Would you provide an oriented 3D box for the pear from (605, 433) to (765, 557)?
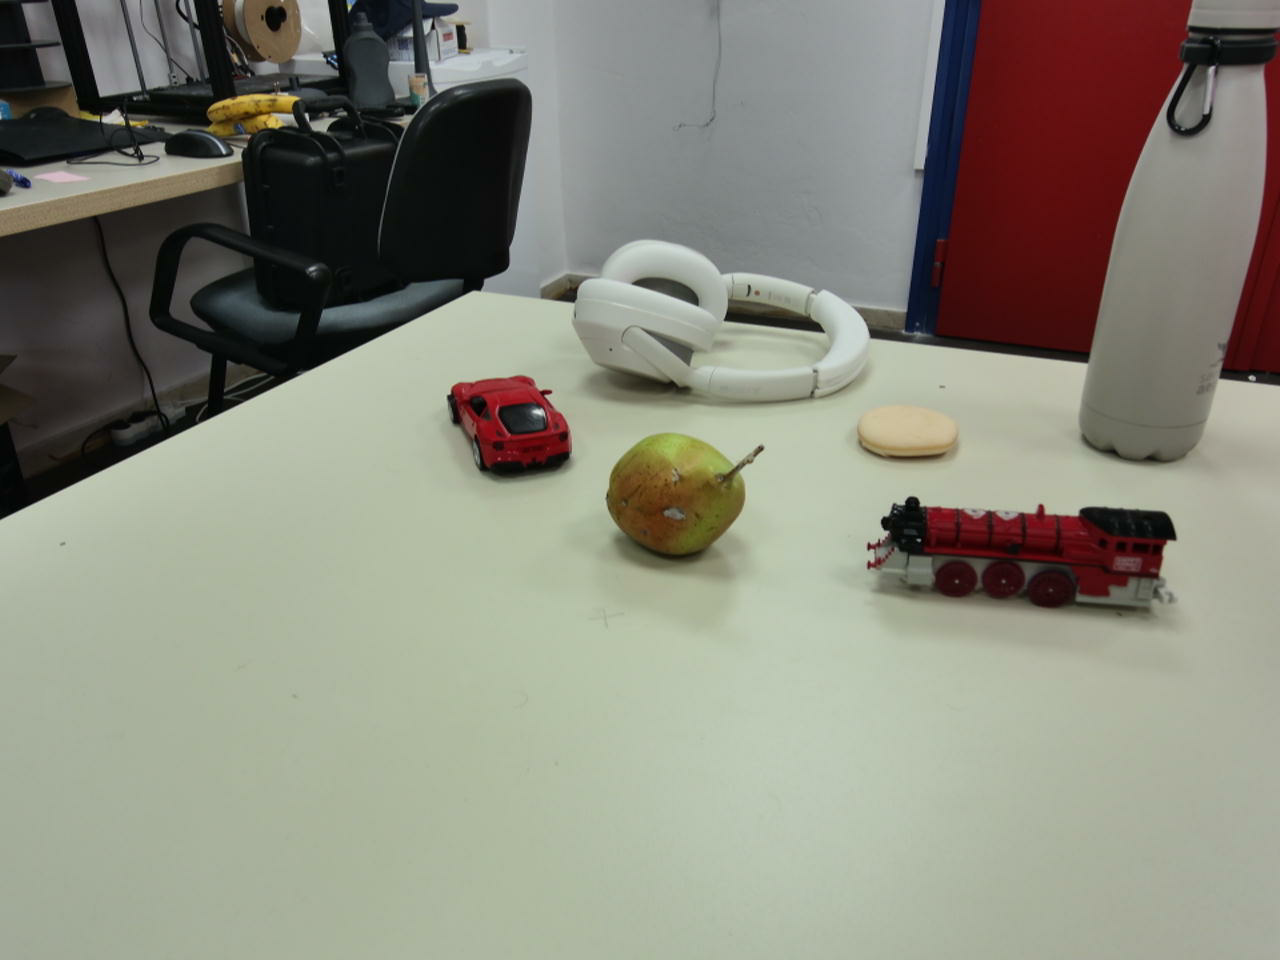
[{"bbox_3d":[0.018,0.005,0.517,0.068,0.069,0.070,-6,26,-13],"label":"pear"}]
